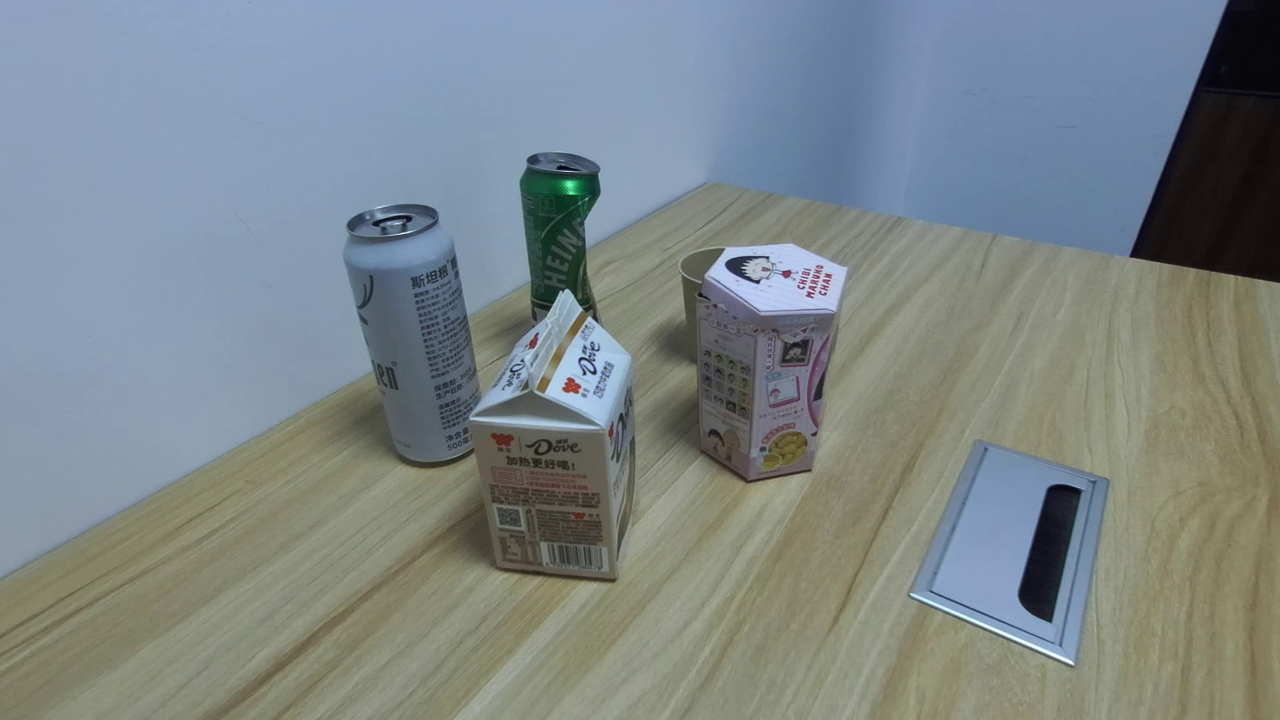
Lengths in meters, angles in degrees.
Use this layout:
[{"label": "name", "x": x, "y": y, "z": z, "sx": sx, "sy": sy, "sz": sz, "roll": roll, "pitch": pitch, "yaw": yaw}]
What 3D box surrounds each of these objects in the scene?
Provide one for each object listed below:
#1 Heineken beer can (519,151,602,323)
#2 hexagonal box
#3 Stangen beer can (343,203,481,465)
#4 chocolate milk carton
[{"label": "Heineken beer can", "x": -0.058, "y": -0.074, "z": 0.565, "sx": 0.069, "sy": 0.168, "sz": 0.068, "roll": 17, "pitch": 31, "yaw": 27}, {"label": "hexagonal box", "x": 0.083, "y": 0.001, "z": 0.463, "sx": 0.085, "sy": 0.135, "sz": 0.092, "roll": 11, "pitch": 34, "yaw": 18}, {"label": "Stangen beer can", "x": -0.148, "y": -0.014, "z": 0.472, "sx": 0.067, "sy": 0.171, "sz": 0.067, "roll": -1, "pitch": 32, "yaw": 1}, {"label": "chocolate milk carton", "x": -0.044, "y": 0.041, "z": 0.395, "sx": 0.074, "sy": 0.148, "sz": 0.075, "roll": 3, "pitch": 32, "yaw": 9}]
